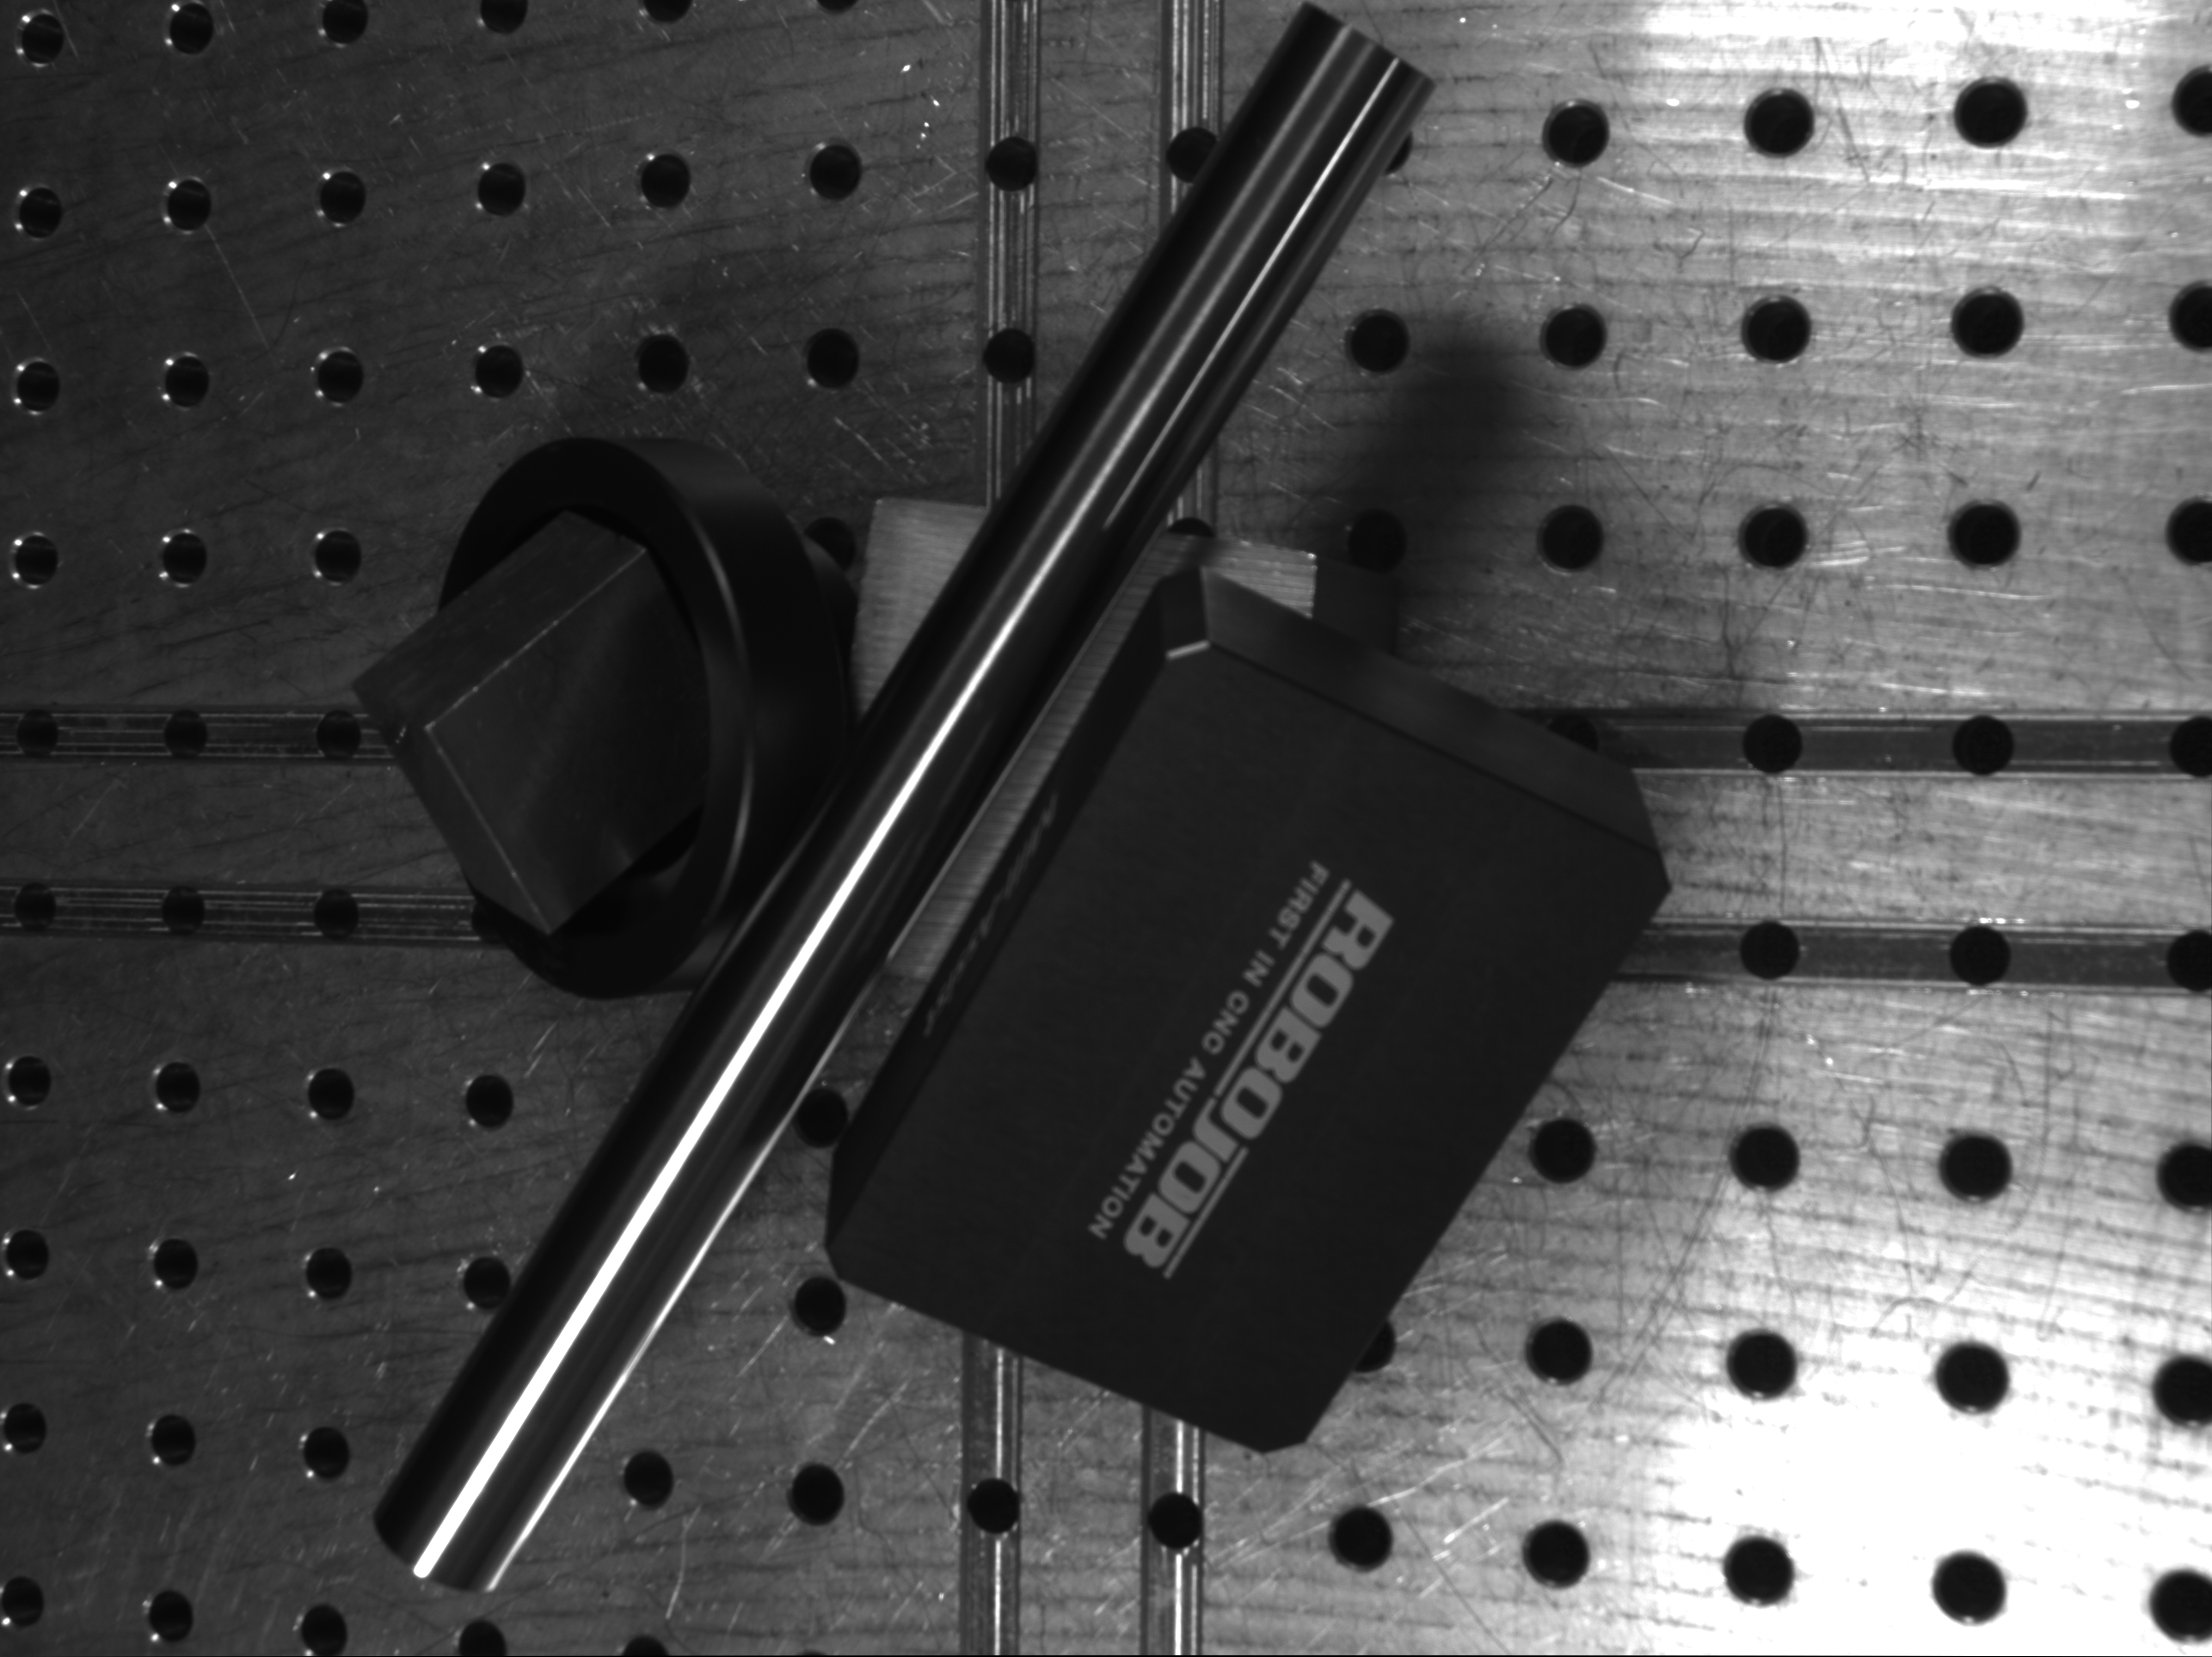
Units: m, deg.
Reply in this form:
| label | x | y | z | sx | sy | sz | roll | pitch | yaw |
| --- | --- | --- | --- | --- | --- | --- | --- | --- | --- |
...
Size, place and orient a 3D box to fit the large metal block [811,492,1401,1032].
| label | x | y | z | sx | sy | sz | roll | pitch | yaw |
| --- | --- | --- | --- | --- | --- | --- | --- | --- | --- |
| large metal block | 0.000 | -0.011 | 0.633 | 0.080 | 0.050 | 0.080 | 10 | 93 | 19 |

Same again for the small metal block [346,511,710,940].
| label | x | y | z | sx | sy | sz | roll | pitch | yaw |
| --- | --- | --- | --- | --- | --- | --- | --- | --- | --- |
| small metal block | -0.096 | -0.018 | 0.638 | 0.050 | 0.050 | 0.025 | -42 | 43 | -21 |

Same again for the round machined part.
| label | x | y | z | sx | sy | sz | roll | pitch | yaw |
| --- | --- | --- | --- | --- | --- | --- | --- | --- | --- |
| round machined part | -0.077 | -0.020 | 0.651 | 0.098 | 0.042 | 0.098 | 4 | 95 | 45 |

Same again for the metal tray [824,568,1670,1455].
| label | x | y | z | sx | sy | sz | roll | pitch | yaw |
| --- | --- | --- | --- | --- | --- | --- | --- | --- | --- |
| metal tray | 0.021 | 0.033 | 0.601 | 0.090 | 0.030 | 0.130 | 24 | 114 | -13 |

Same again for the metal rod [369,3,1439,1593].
| label | x | y | z | sx | sy | sz | roll | pitch | yaw |
| --- | --- | --- | --- | --- | --- | --- | --- | --- | --- |
| metal rod | -0.037 | 0.000 | 0.607 | 0.025 | 0.025 | 0.300 | 36 | 101 | 16 |
